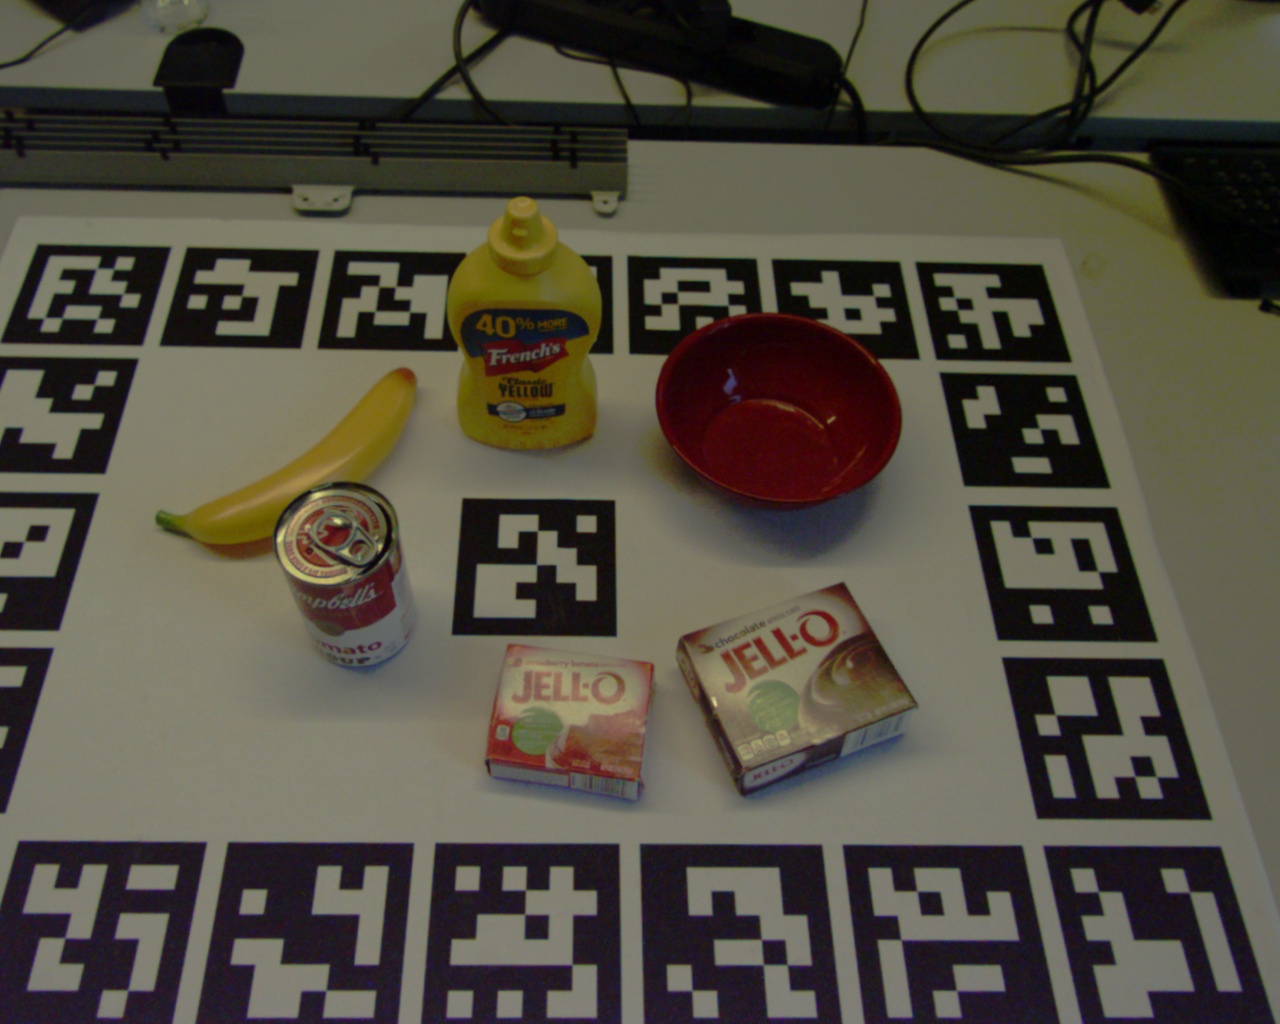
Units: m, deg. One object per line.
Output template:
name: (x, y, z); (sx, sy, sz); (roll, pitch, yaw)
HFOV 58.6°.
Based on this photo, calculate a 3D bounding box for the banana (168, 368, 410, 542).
banana: (-0.224, -0.035, 0.784); (0.075, 0.038, 0.196); (31, 60, 29)

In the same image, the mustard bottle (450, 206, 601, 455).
mustard bottle: (-0.073, -0.117, 0.740); (0.096, 0.191, 0.058); (1, 53, -3)

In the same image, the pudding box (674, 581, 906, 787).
pudding box: (0.090, 0.105, 0.701); (0.113, 0.038, 0.090); (-20, 65, -15)

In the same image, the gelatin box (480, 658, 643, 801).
gelatin box: (-0.046, 0.129, 0.685); (0.089, 0.030, 0.073); (6, 59, 2)

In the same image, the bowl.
bowl: (0.092, -0.055, 0.804); (0.161, 0.055, 0.162); (0, 55, -1)

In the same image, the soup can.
soup can: (-0.178, 0.036, 0.689); (0.068, 0.102, 0.068); (2, 54, -4)
